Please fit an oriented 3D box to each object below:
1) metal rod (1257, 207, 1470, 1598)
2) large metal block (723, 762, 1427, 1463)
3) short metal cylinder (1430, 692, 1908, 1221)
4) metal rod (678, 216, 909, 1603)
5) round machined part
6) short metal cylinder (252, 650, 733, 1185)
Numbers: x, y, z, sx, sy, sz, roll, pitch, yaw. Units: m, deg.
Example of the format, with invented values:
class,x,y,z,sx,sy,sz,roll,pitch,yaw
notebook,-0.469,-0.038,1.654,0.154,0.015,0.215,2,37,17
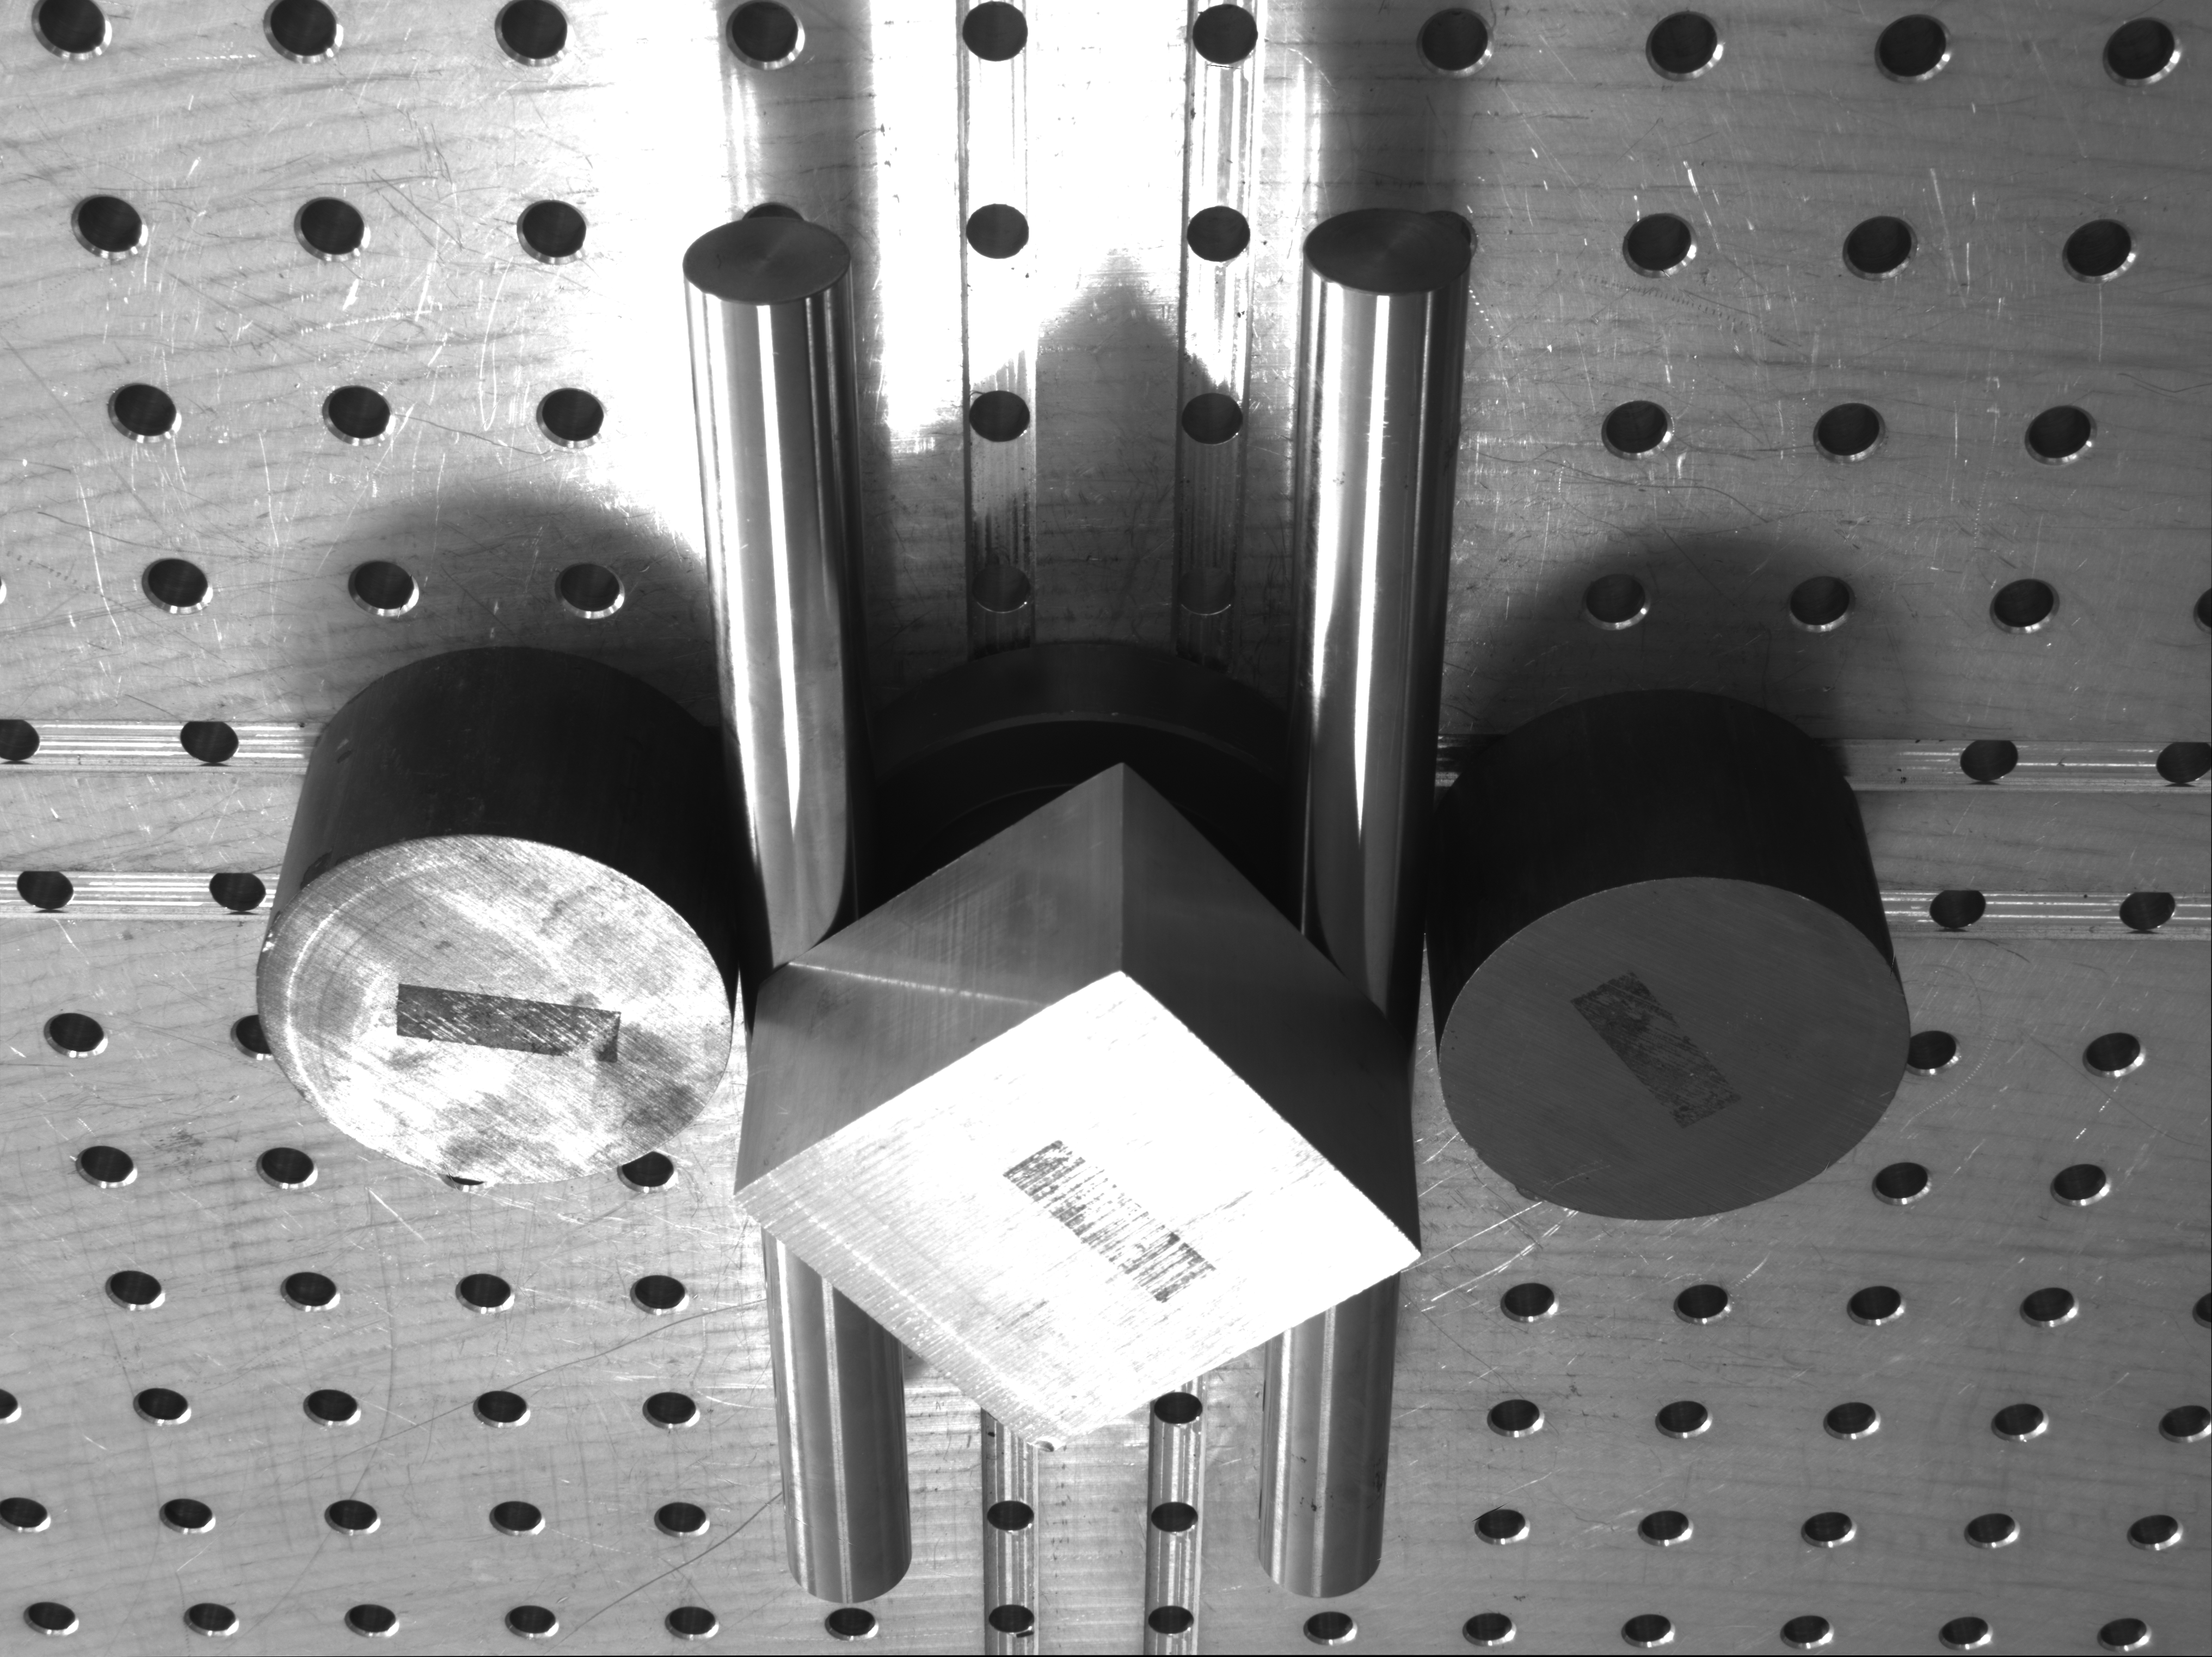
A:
class,x,y,z,sx,sy,sz,roll,pitch,yaw
metal rod,0.042,0.029,0.639,0.025,0.025,0.300,0,130,0
large metal block,-0.004,0.049,0.605,0.080,0.050,0.080,-31,123,23
short metal cylinder,0.097,0.023,0.645,0.080,0.050,0.080,0,130,0
metal rod,-0.051,0.031,0.640,0.025,0.025,0.300,0,130,0
round machined part,-0.005,0.018,0.647,0.098,0.042,0.098,0,130,0
short metal cylinder,-0.104,0.016,0.639,0.080,0.050,0.080,0,130,0
